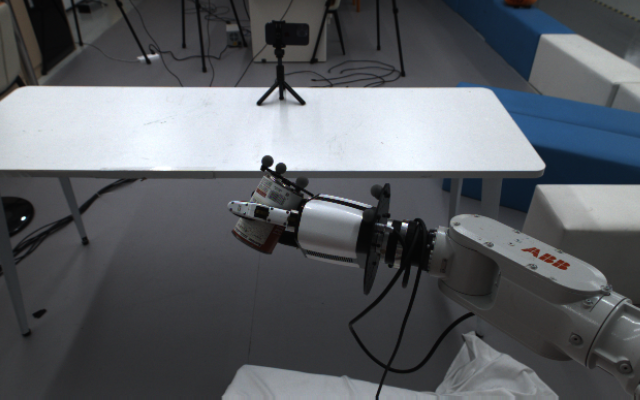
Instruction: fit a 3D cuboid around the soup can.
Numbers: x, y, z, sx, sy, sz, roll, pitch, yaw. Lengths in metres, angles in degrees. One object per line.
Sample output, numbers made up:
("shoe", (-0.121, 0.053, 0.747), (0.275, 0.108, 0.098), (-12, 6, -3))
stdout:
("soup can", (-0.076, 0.021, 0.713), (0.067, 0.101, 0.067), (30, 2, -1))
